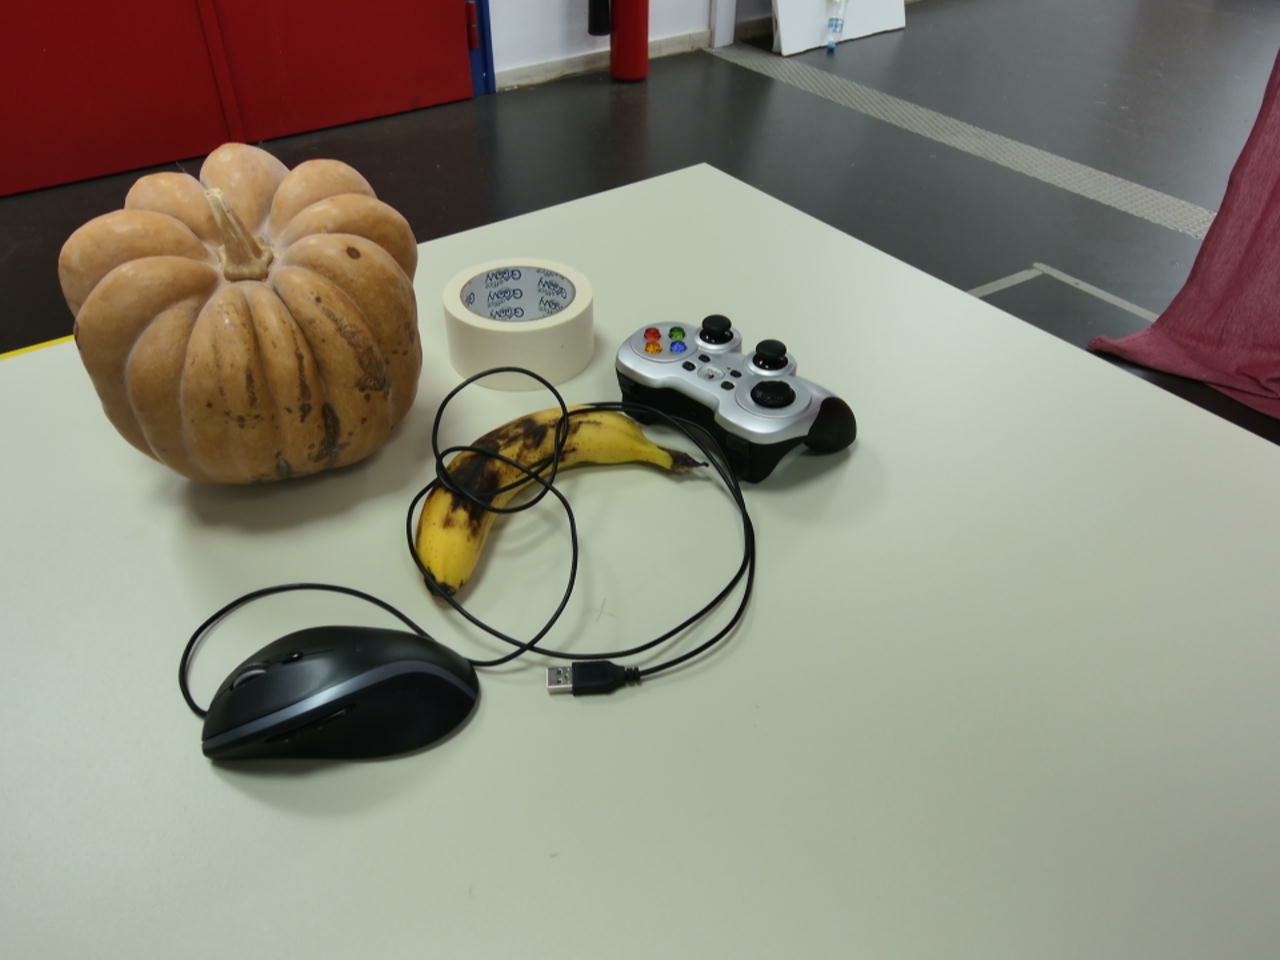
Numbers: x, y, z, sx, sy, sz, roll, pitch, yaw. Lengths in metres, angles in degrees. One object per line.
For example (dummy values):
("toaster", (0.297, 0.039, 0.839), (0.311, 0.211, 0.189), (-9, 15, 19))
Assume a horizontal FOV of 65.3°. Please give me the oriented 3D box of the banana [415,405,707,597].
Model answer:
("banana", (-0.061, -0.001, 0.590), (0.187, 0.039, 0.094), (-25, 45, -30))
